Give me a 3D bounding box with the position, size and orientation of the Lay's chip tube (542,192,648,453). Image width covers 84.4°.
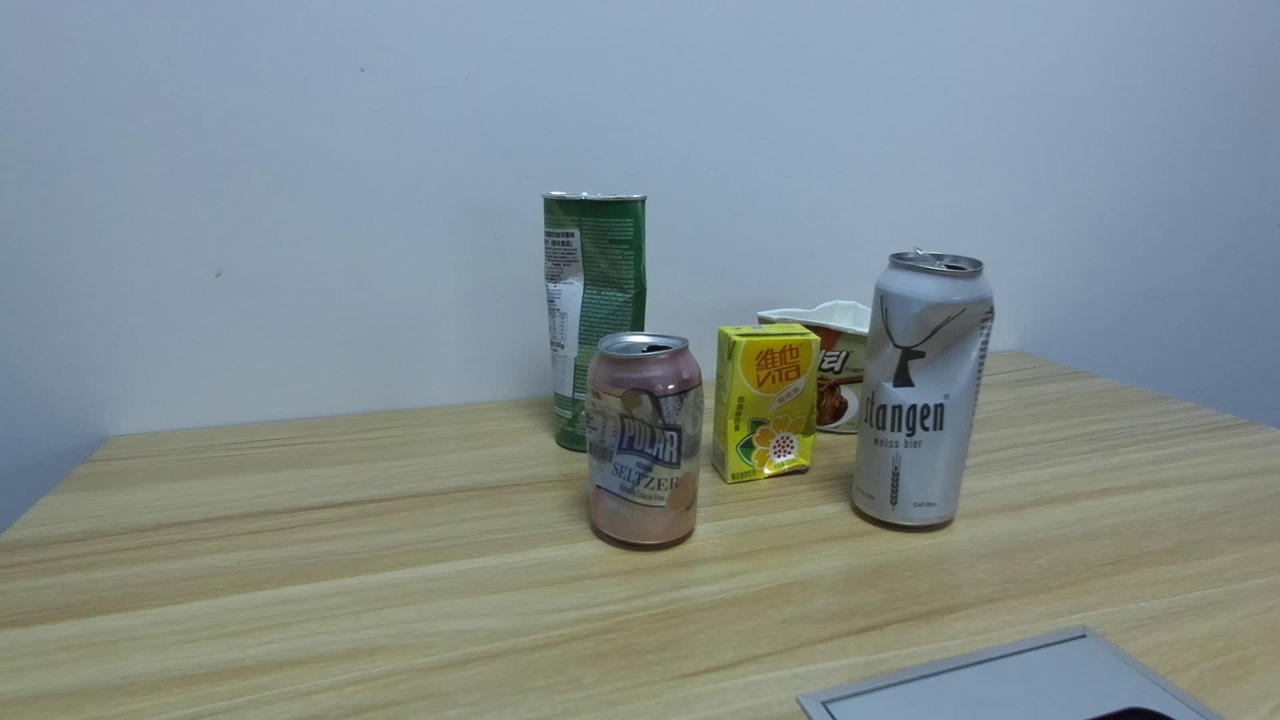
[{"bbox_3d":[-0.037,-0.030,0.566,0.075,0.199,0.069,-2,15,-11],"label":"Lay's chip tube"}]

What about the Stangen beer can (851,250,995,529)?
[{"bbox_3d":[0.176,0.019,0.444,0.070,0.173,0.070,11,19,31],"label":"Stangen beer can"}]

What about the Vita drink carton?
[{"bbox_3d":[0.095,0.031,0.516,0.076,0.109,0.043,-3,15,-10],"label":"Vita drink carton"}]

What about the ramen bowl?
[{"bbox_3d":[0.190,0.005,0.642,0.114,0.097,0.133,-11,18,-29],"label":"ramen bowl"}]

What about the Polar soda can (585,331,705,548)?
[{"bbox_3d":[0.003,0.049,0.430,0.067,0.122,0.074,-4,14,-12],"label":"Polar soda can"}]
